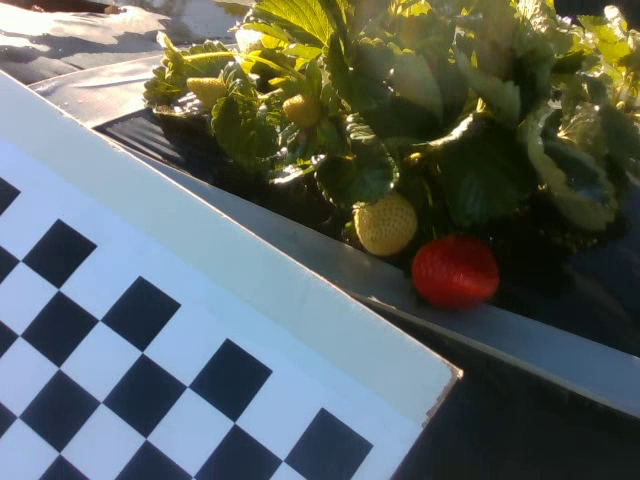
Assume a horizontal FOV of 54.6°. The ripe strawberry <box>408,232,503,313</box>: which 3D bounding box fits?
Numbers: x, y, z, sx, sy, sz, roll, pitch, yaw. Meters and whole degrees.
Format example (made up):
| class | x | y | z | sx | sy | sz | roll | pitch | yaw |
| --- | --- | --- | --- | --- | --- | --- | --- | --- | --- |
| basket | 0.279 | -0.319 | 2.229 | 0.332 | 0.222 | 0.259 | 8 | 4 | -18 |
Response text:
| class | x | y | z | sx | sy | sz | roll | pitch | yaw |
| --- | --- | --- | --- | --- | --- | --- | --- | --- | --- |
| ripe strawberry | 0.067 | 0.017 | 0.295 | 0.045 | 0.049 | 0.064 | -32 | 9 | -2 |
